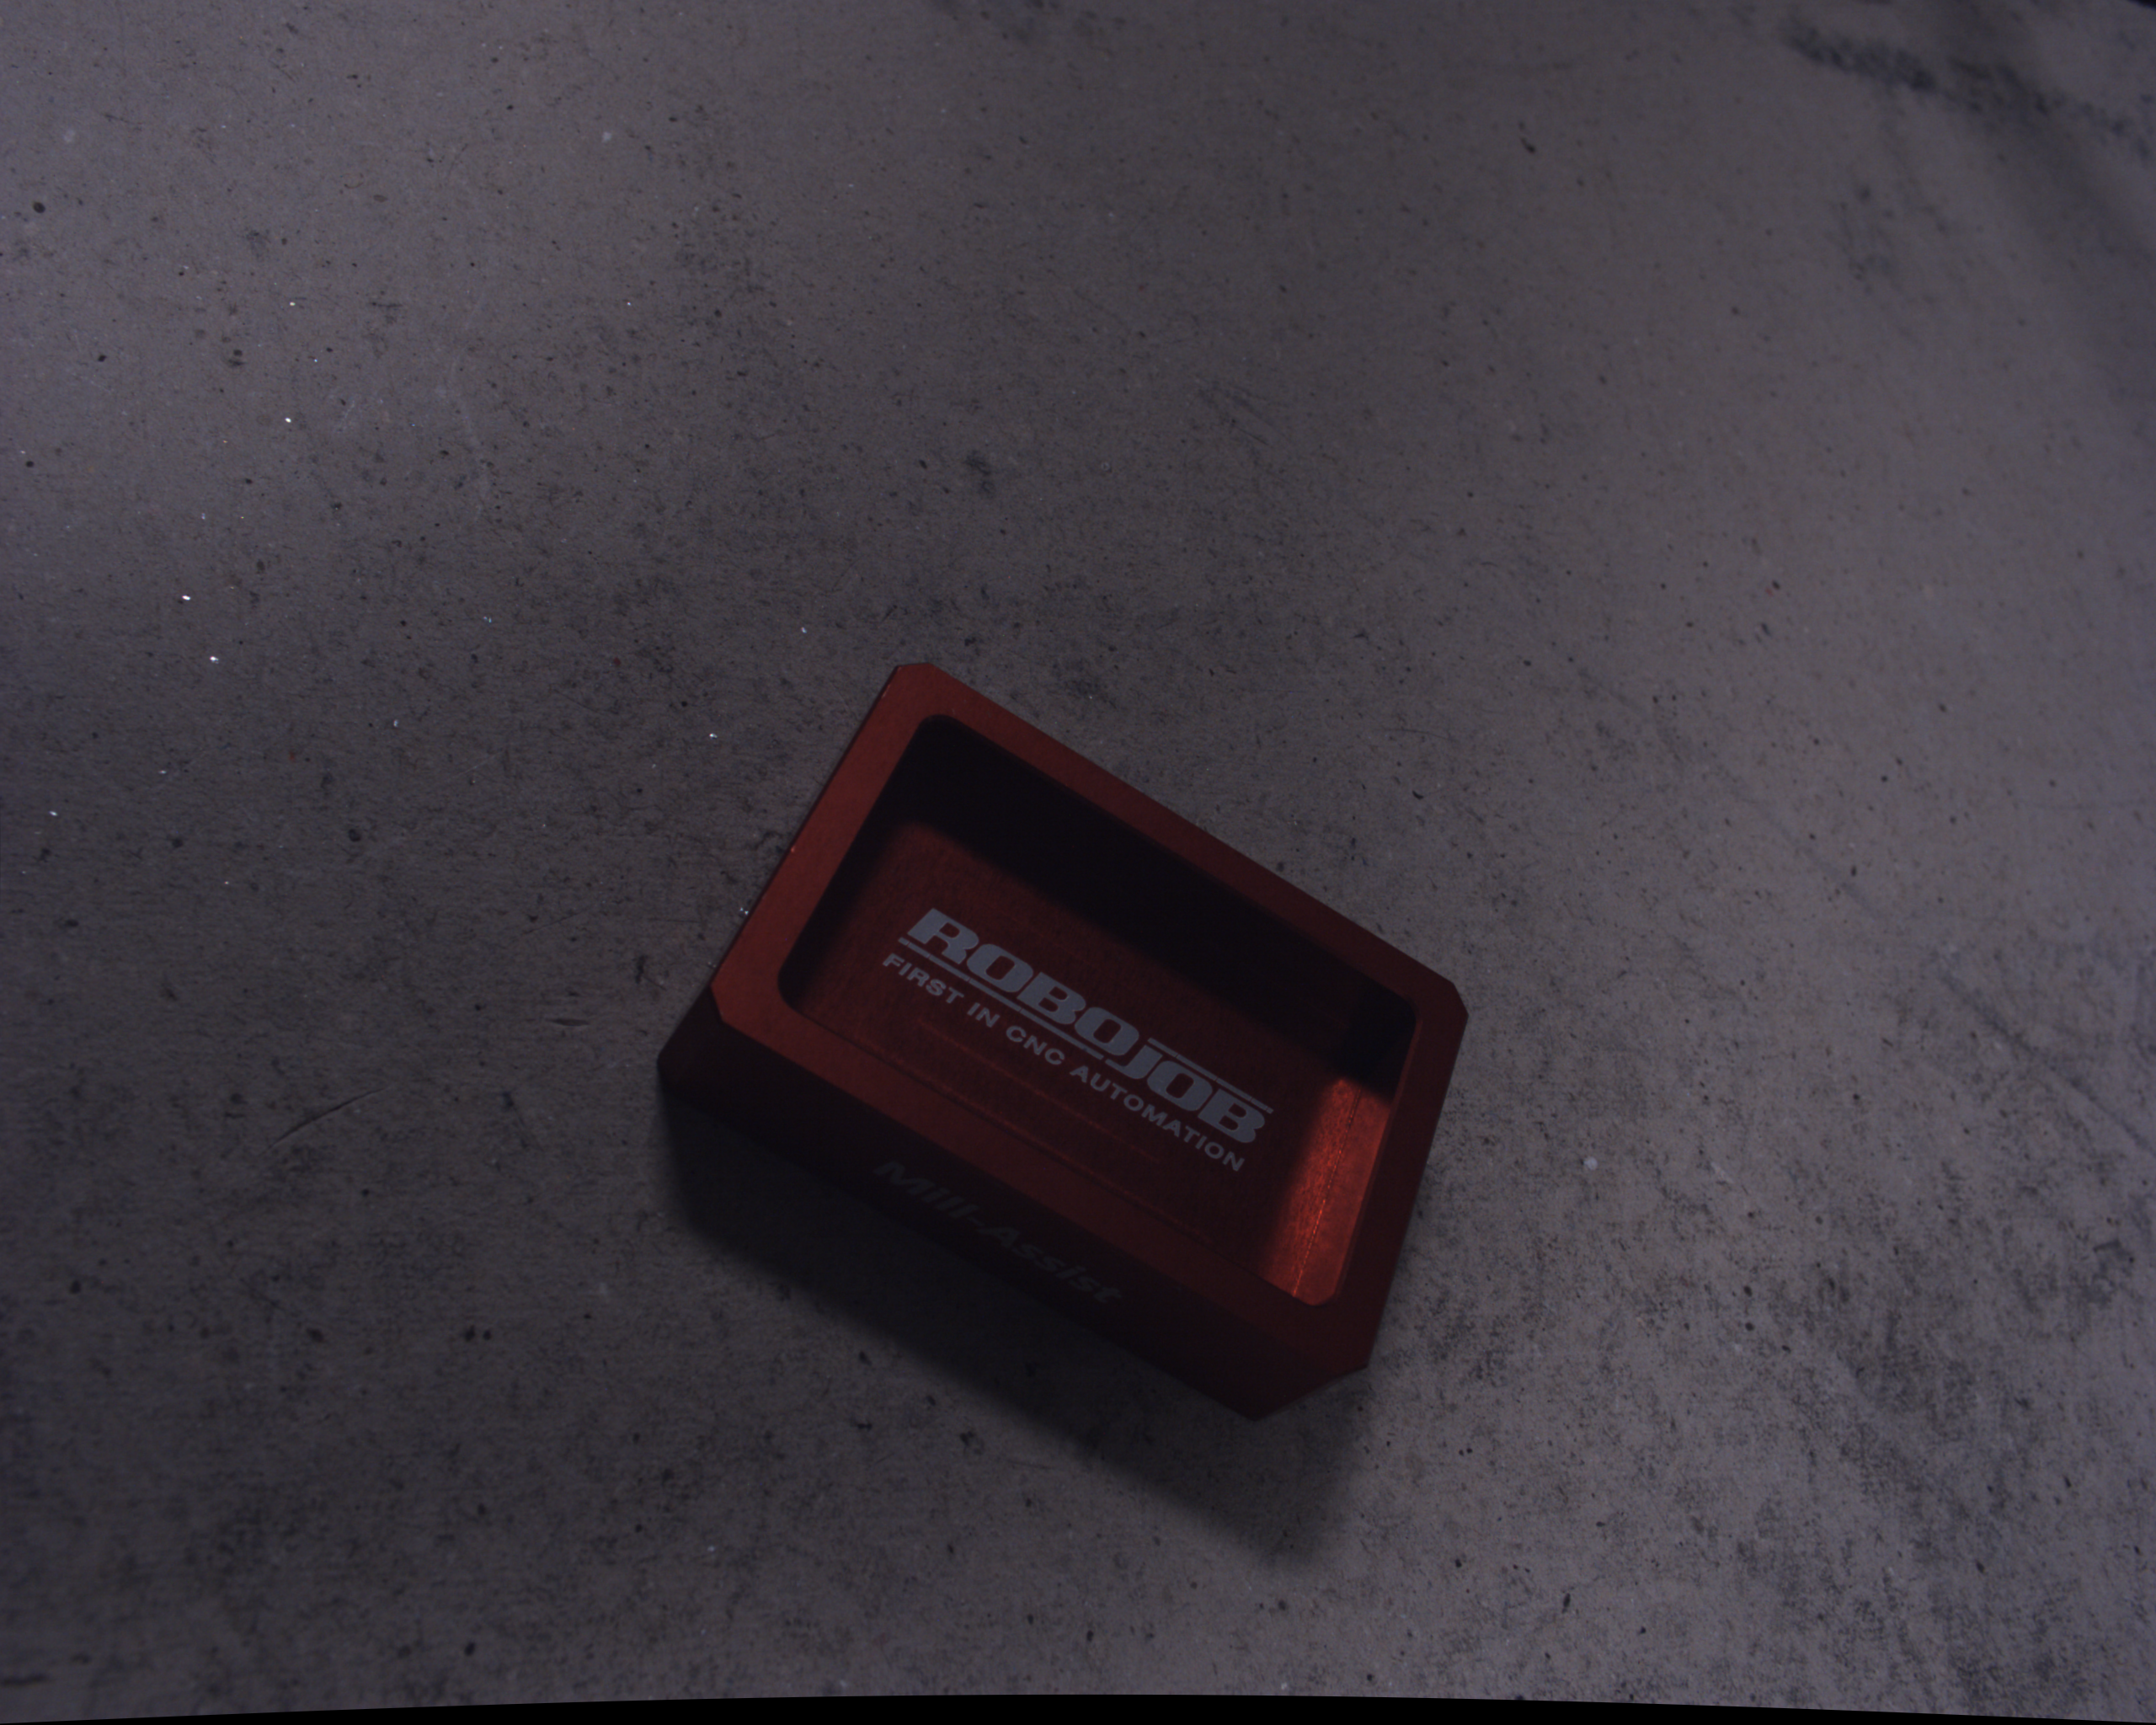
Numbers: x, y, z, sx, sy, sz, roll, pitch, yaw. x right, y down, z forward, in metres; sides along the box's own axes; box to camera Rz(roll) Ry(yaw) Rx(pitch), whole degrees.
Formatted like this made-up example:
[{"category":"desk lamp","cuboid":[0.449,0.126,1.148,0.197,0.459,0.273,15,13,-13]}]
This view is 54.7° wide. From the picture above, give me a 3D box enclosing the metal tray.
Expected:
[{"category":"metal tray","cuboid":[0.002,0.032,0.385,0.130,0.030,0.090,31,51,-8]}]
